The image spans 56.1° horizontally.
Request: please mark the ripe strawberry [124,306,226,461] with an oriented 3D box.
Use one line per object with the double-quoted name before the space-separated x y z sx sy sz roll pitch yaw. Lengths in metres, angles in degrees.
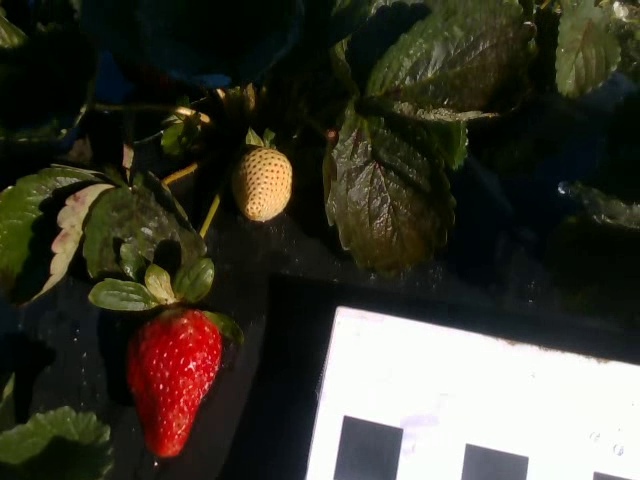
"ripe strawberry" -0.062 0.058 0.249 0.048 0.069 0.040 -8 -20 5
